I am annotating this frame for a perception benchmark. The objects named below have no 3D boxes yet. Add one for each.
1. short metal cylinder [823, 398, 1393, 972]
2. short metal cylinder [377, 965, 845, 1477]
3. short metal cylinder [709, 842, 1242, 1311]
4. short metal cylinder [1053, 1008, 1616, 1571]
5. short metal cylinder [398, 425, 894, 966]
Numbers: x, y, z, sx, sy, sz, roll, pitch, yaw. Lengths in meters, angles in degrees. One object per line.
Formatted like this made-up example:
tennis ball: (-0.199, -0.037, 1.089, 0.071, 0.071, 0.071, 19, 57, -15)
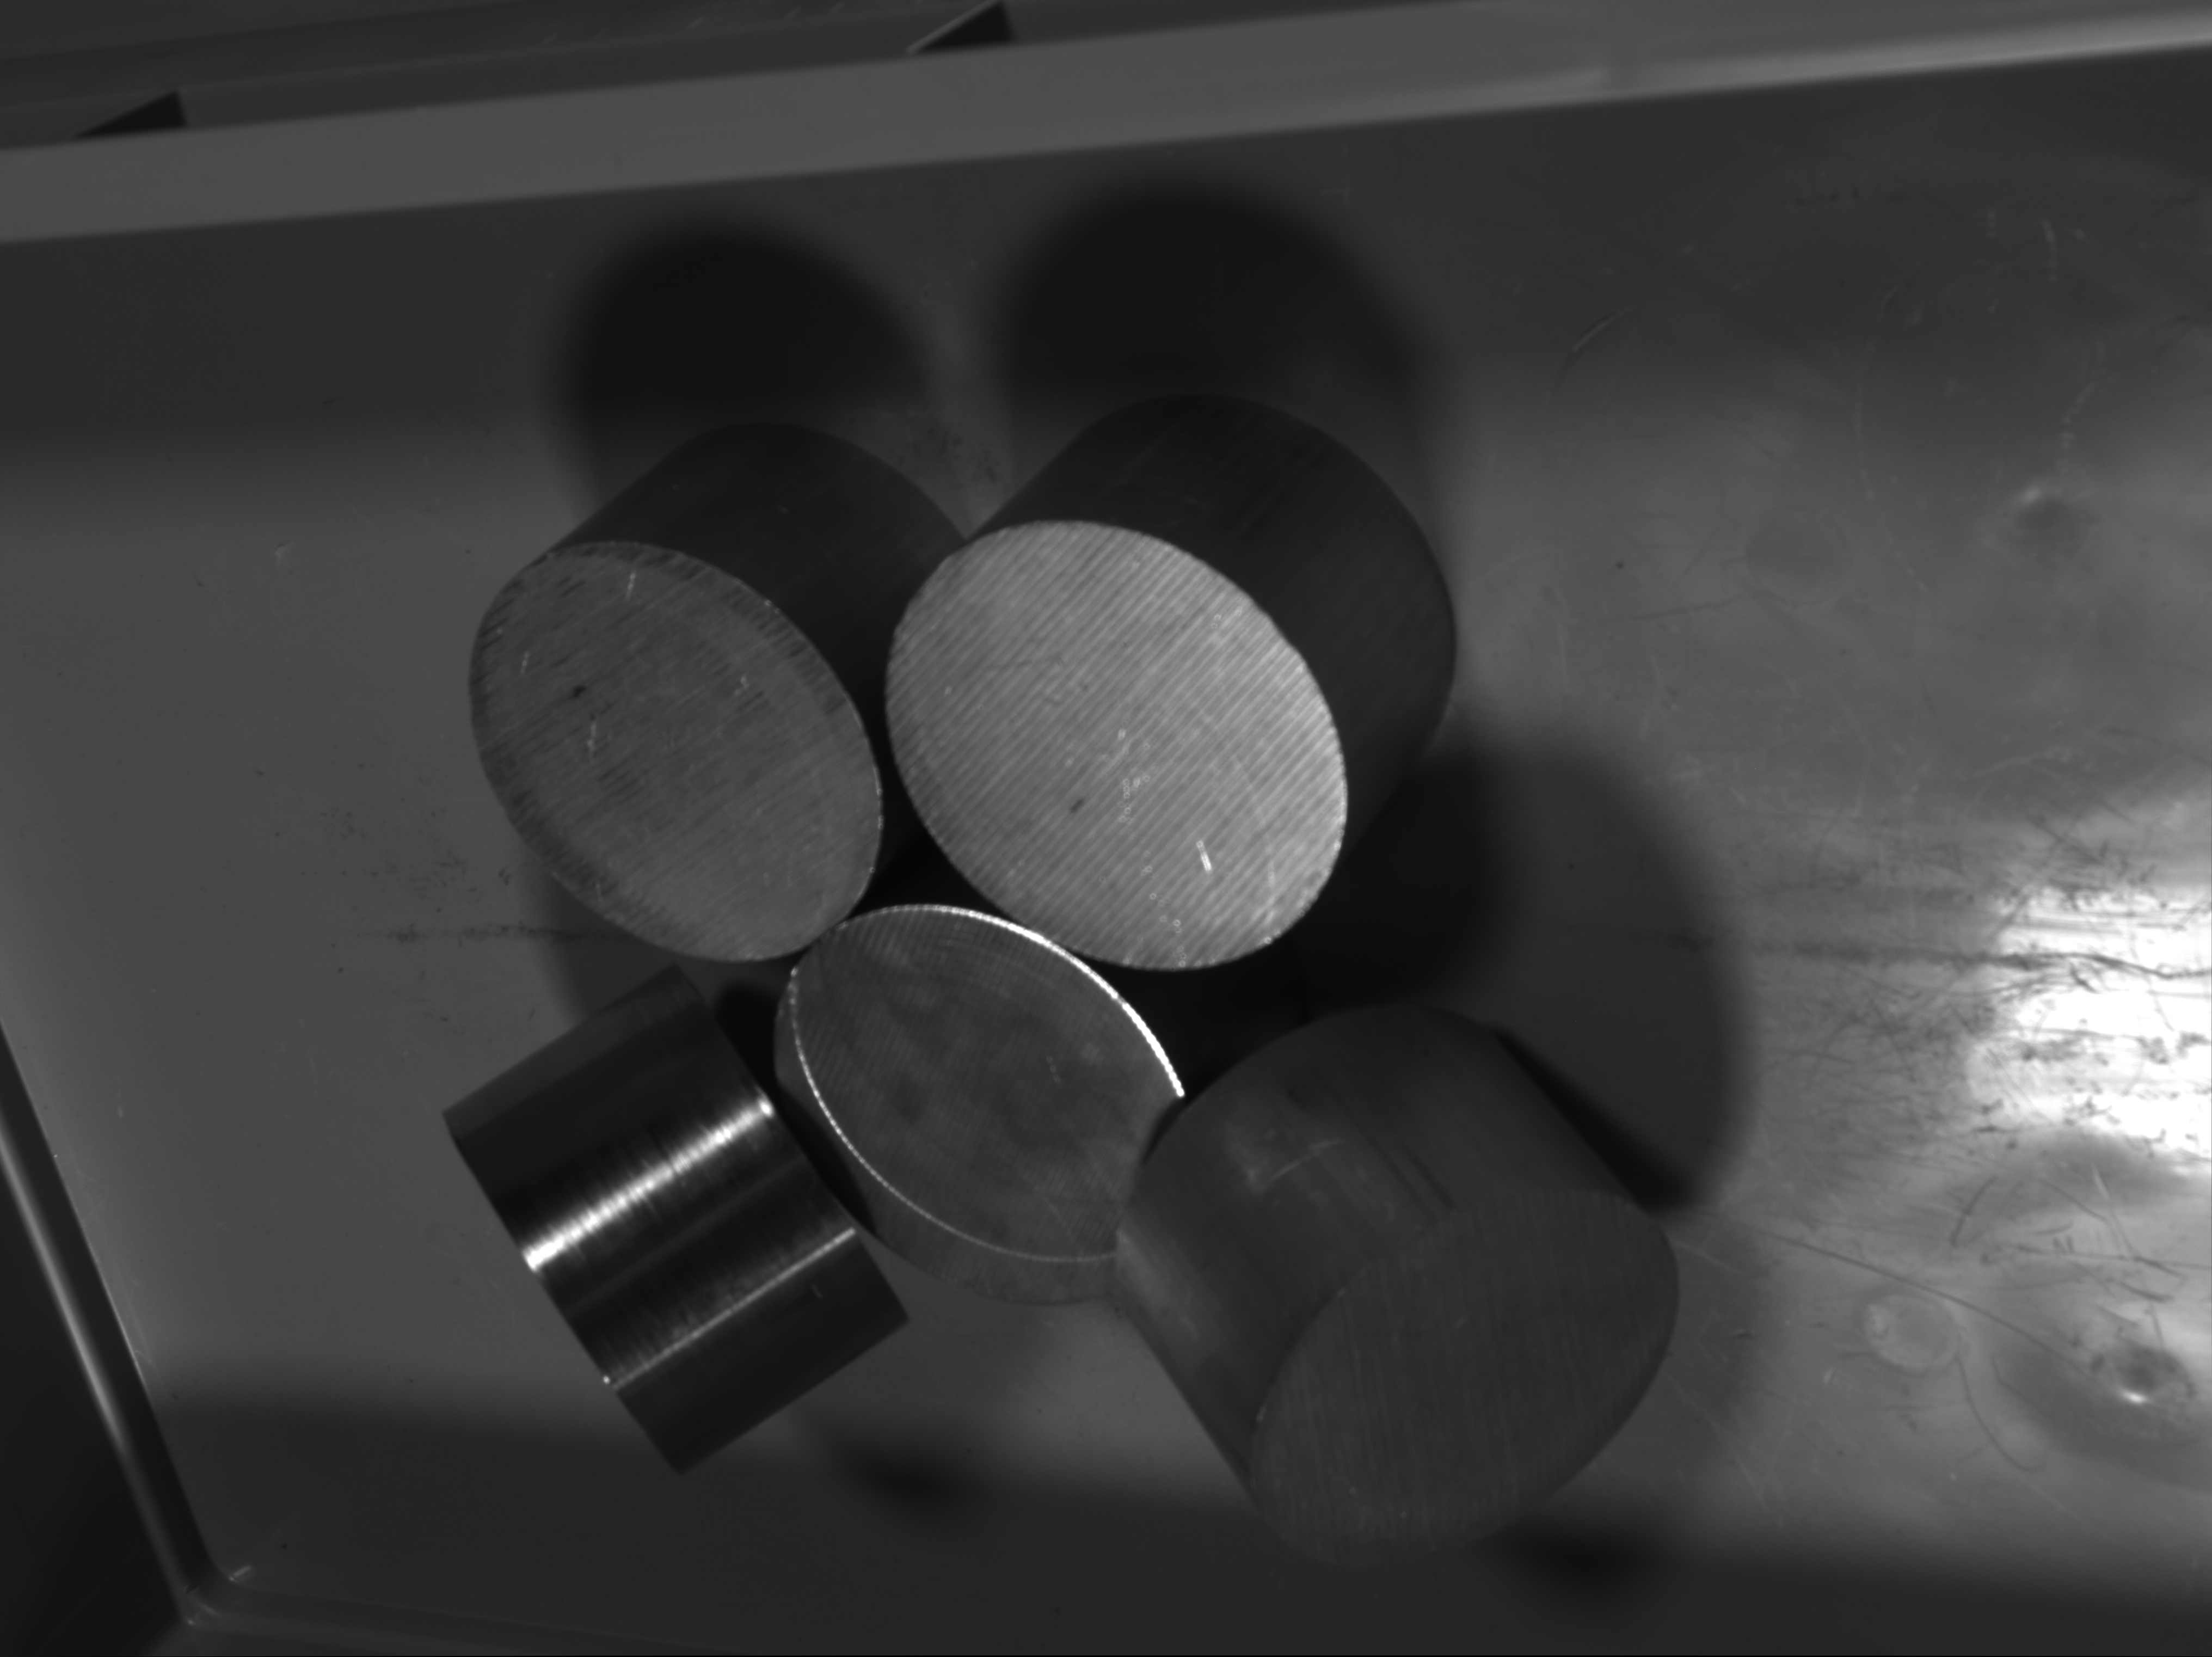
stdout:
short metal cylinder: (0.001, -0.024, 0.599, 0.080, 0.050, 0.080, 12, 123, 20)
short metal cylinder: (-0.091, 0.072, 0.677, 0.050, 0.080, 0.080, -33, 104, -8)
short metal cylinder: (-0.023, 0.038, 0.645, 0.080, 0.050, 0.080, 12, 123, 20)
short metal cylinder: (0.038, 0.077, 0.614, 0.050, 0.080, 0.080, 50, 142, 45)
short metal cylinder: (-0.075, -0.023, 0.636, 0.080, 0.050, 0.080, 12, 123, 20)
